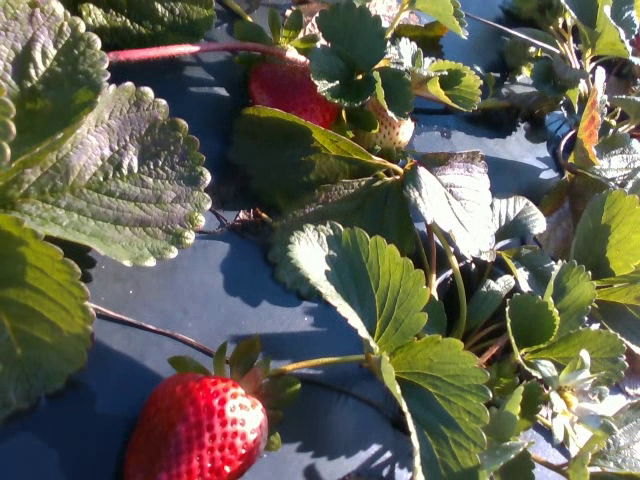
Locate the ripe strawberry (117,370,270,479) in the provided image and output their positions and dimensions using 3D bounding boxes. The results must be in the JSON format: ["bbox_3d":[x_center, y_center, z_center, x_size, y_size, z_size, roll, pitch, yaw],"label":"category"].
[{"bbox_3d":[-0.037,0.060,0.173,0.044,0.042,0.056,-7,26,29],"label":"ripe strawberry"}]
